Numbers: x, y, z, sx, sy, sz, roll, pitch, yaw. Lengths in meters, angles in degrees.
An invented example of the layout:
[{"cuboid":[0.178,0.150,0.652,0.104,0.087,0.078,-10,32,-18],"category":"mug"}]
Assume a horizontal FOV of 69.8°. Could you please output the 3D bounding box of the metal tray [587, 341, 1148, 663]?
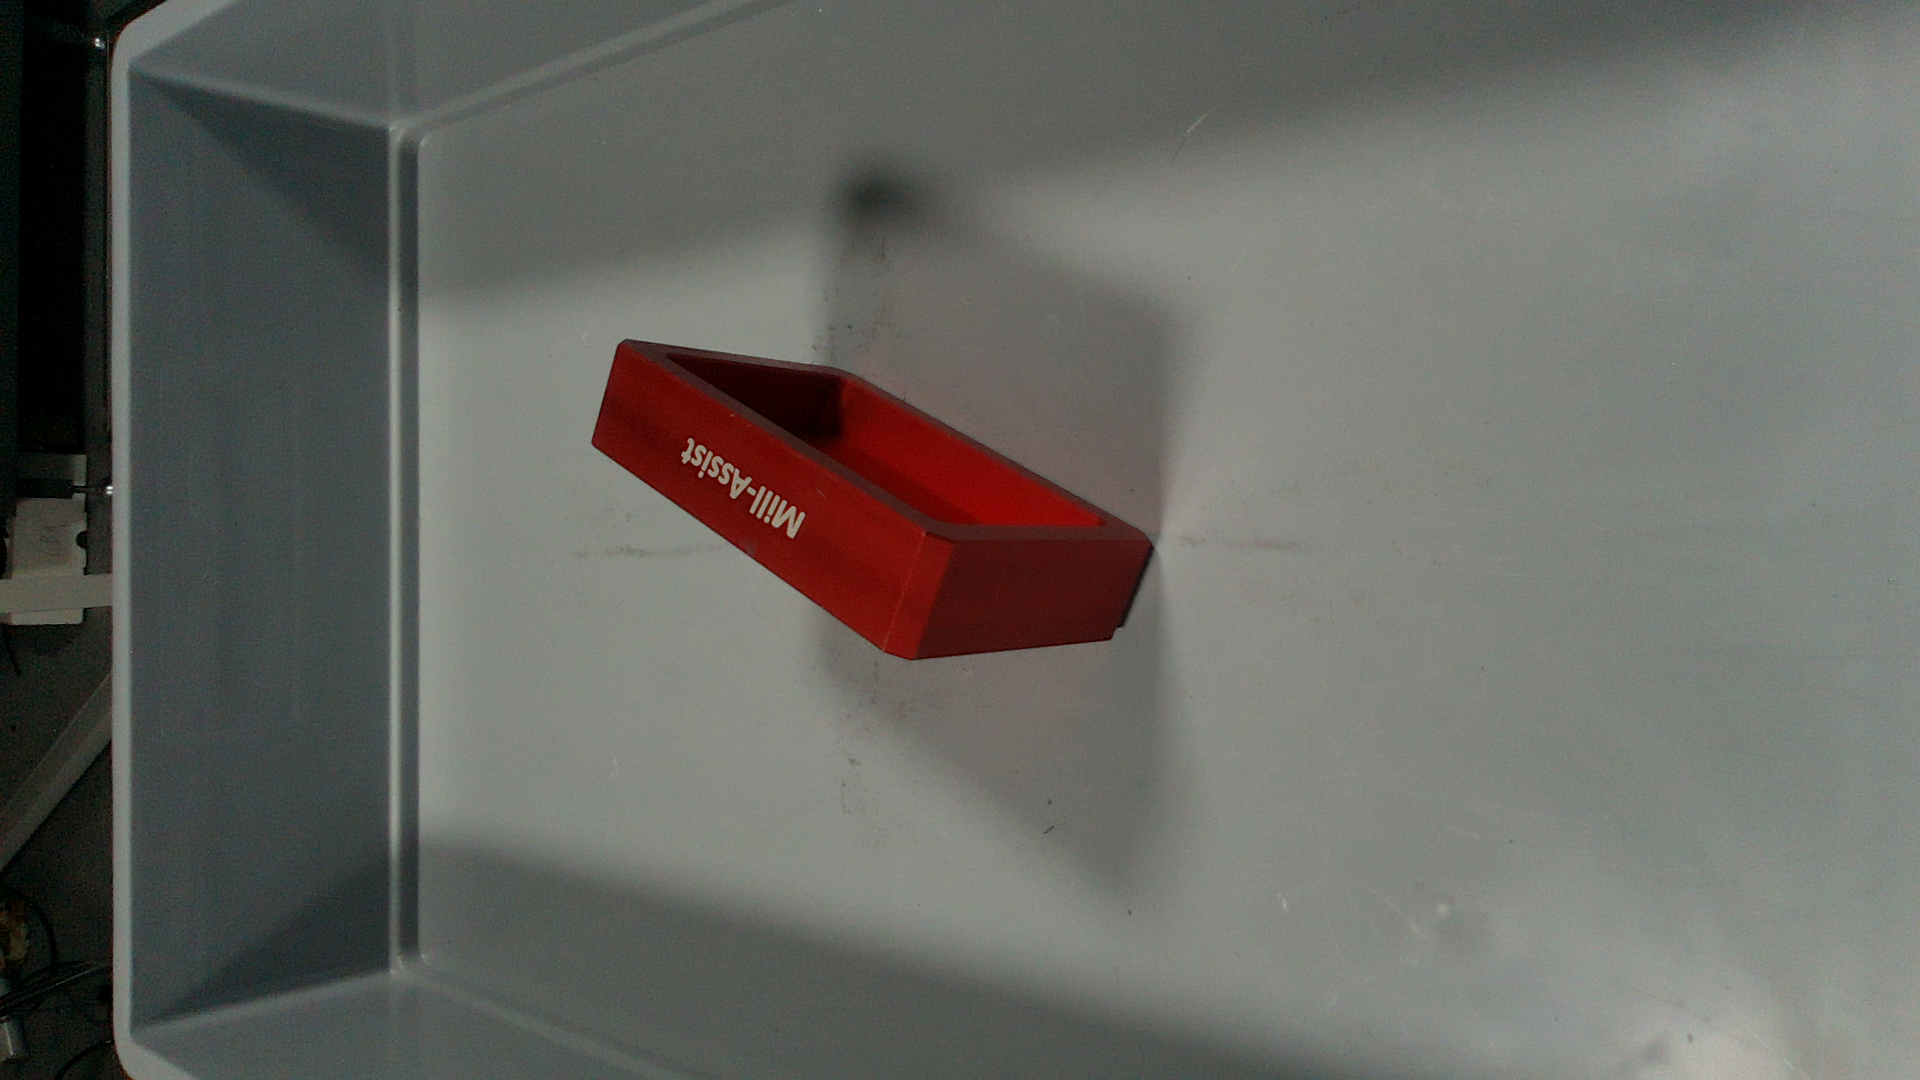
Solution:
[{"cuboid":[-0.026,-0.013,0.370,0.130,0.090,0.030,31,110,35],"category":"metal tray"}]
